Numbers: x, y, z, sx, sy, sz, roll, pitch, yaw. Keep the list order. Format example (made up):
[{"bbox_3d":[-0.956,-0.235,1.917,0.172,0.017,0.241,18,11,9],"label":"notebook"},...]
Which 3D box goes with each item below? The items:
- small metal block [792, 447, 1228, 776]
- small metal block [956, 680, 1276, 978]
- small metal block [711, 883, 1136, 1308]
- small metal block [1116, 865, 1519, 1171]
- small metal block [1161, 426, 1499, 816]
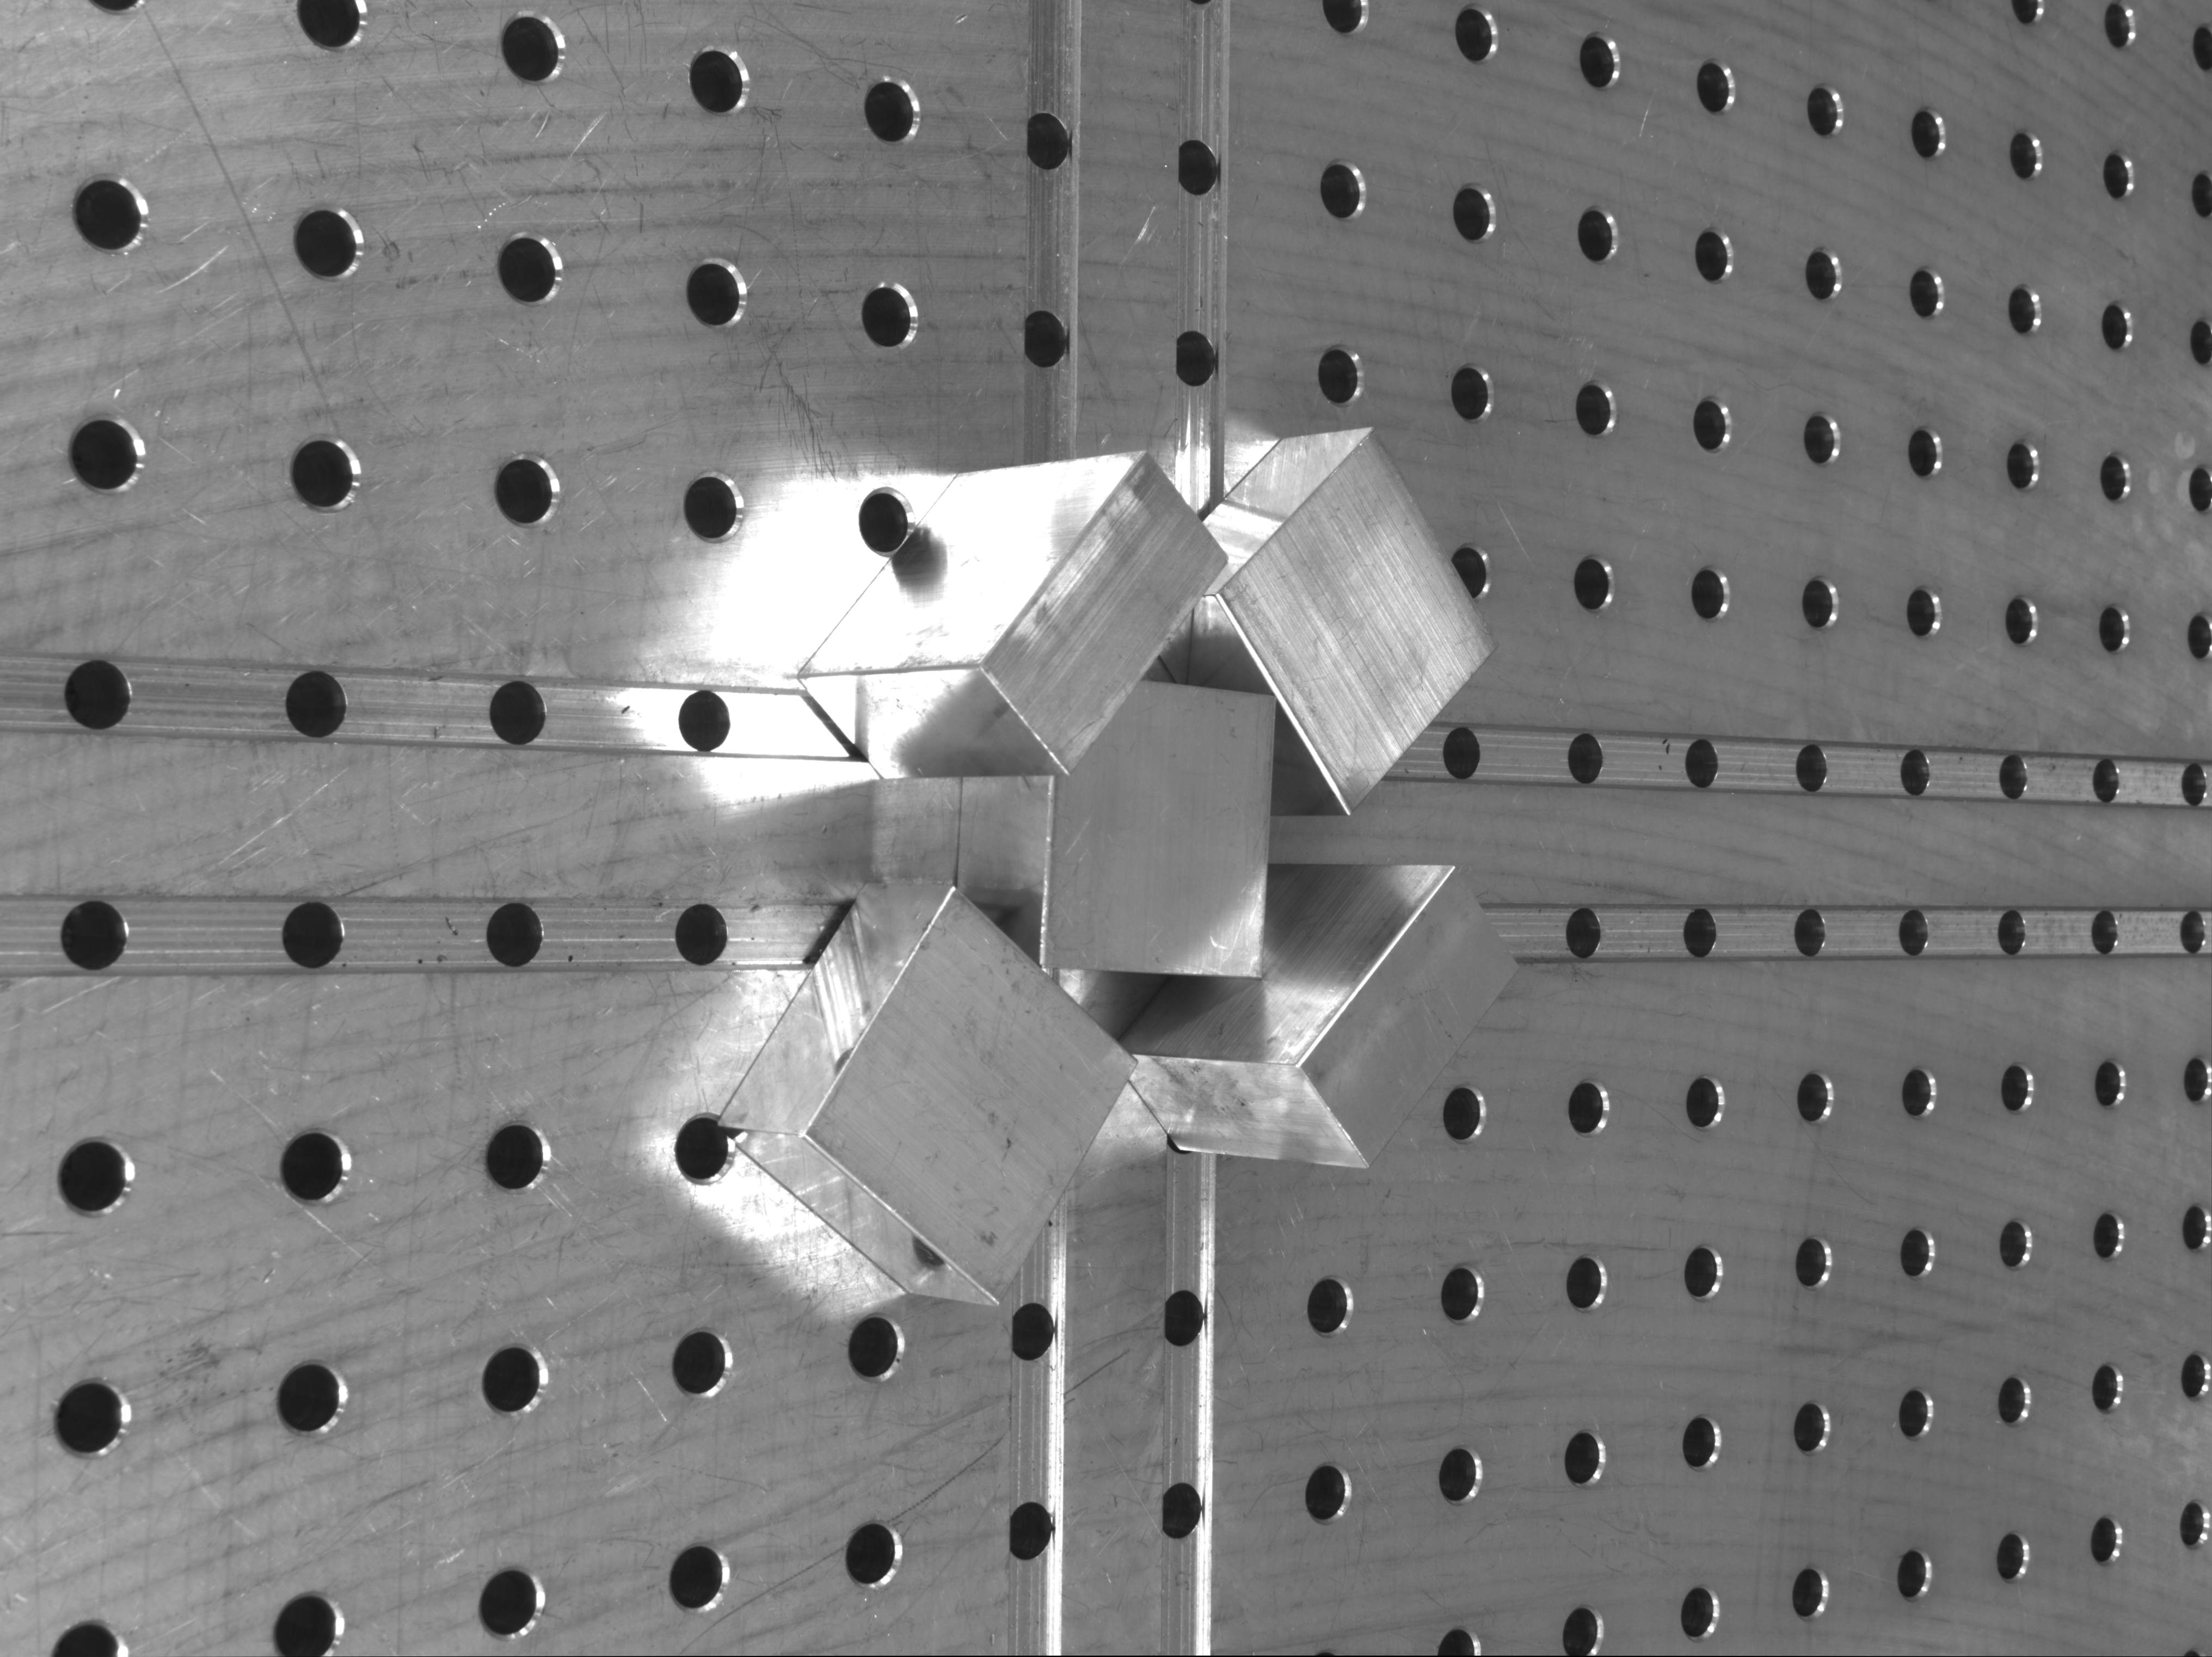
[{"bbox_3d":[-0.016,-0.035,0.609,0.025,0.050,0.050,52,61,-28],"label":"small metal block"},{"bbox_3d":[0.002,0.000,0.640,0.050,0.025,0.050,5,86,-38],"label":"small metal block"},{"bbox_3d":[-0.030,0.044,0.614,0.050,0.025,0.050,46,62,-31],"label":"small metal block"},{"bbox_3d":[0.037,0.033,0.653,0.050,0.050,0.025,-50,119,-28],"label":"small metal block"},{"bbox_3d":[0.038,-0.037,0.670,0.050,0.025,0.050,-47,118,-29],"label":"small metal block"}]
